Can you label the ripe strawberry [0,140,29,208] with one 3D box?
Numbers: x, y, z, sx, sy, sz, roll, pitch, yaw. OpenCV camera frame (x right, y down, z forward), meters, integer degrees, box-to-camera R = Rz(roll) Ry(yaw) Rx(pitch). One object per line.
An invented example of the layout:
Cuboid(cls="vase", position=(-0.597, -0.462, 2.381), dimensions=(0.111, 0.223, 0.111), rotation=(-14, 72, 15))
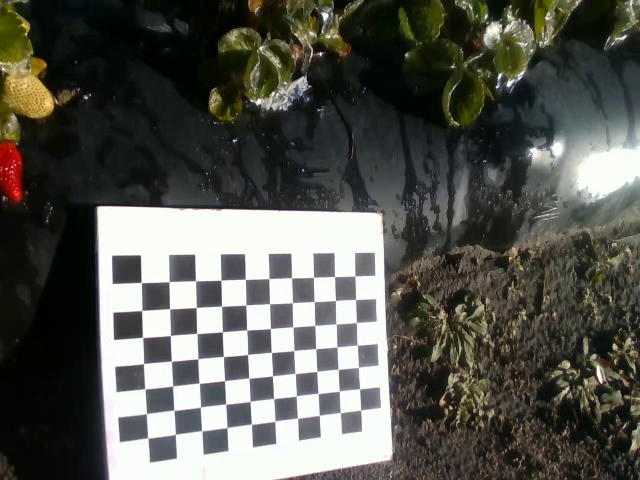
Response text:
Cuboid(cls="ripe strawberry", position=(-0.245, -0.053, 0.495), dimensions=(0.041, 0.052, 0.040), rotation=(-20, -1, -29))
